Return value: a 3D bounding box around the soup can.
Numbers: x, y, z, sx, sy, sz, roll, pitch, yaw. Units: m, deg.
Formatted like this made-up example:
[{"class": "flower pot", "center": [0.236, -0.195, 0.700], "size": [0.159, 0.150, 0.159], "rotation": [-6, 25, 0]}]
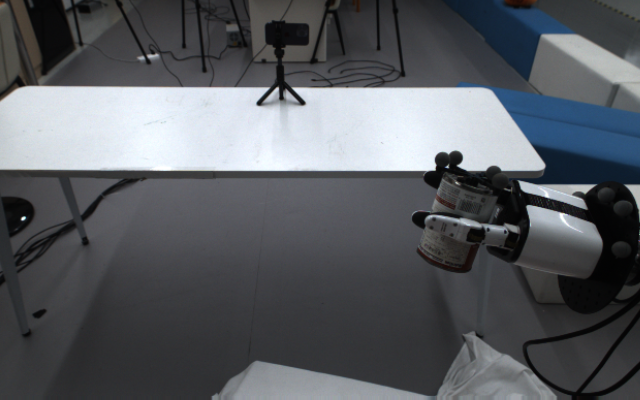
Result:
[{"class": "soup can", "center": [0.164, 0.024, 0.573], "size": [0.067, 0.101, 0.067], "rotation": [13, 18, -4]}]
